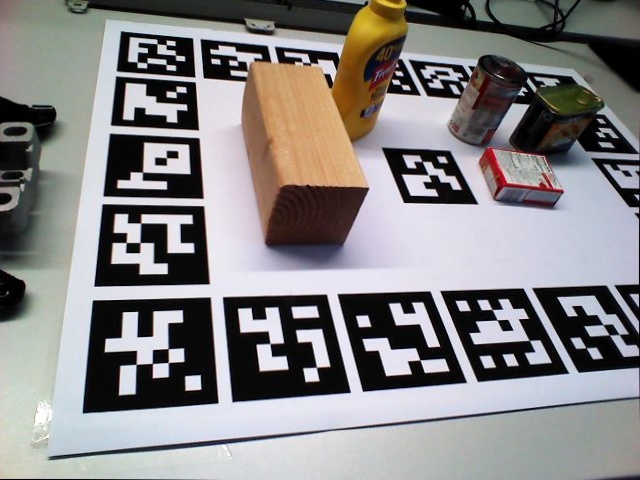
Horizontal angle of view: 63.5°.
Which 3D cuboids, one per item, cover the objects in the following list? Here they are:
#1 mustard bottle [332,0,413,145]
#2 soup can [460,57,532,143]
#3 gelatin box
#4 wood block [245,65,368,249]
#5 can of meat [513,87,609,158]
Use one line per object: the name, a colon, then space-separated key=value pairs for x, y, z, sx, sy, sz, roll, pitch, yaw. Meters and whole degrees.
mustard bottle: x=0.062 y=-0.206 z=0.620 sx=0.095 sy=0.192 sz=0.058 roll=-22 pitch=59 yaw=-32
soup can: x=0.241 y=-0.191 z=0.699 sx=0.068 sy=0.102 sz=0.067 roll=7 pitch=51 yaw=-9
gelatin box: x=0.272 y=-0.075 z=0.664 sx=0.089 sy=0.030 sz=0.073 roll=7 pitch=51 yaw=-7
wood block: x=-0.024 y=-0.096 z=0.563 sx=0.091 sy=0.090 sz=0.205 roll=2 pitch=46 yaw=-17
can of meat: x=0.334 y=-0.161 z=0.726 sx=0.101 sy=0.084 sz=0.057 roll=-11 pitch=55 yaw=-26
